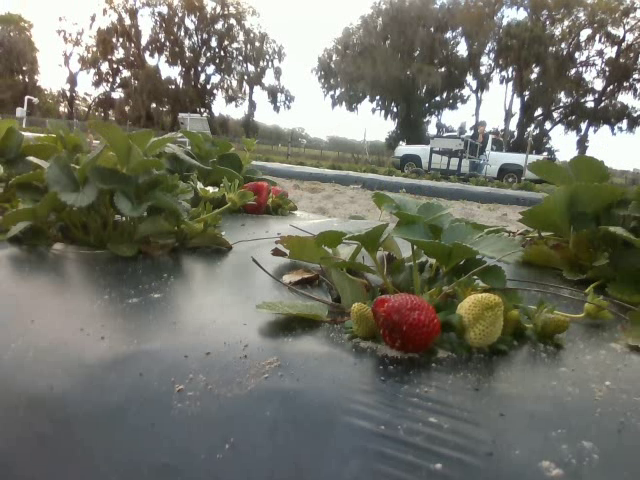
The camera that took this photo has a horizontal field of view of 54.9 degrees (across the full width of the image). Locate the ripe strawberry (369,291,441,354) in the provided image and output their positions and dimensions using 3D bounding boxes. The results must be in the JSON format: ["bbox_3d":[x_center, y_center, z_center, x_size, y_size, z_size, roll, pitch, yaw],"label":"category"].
[{"bbox_3d":[0.051,0.051,0.387,0.046,0.046,0.059,2,-20,33],"label":"ripe strawberry"}]
